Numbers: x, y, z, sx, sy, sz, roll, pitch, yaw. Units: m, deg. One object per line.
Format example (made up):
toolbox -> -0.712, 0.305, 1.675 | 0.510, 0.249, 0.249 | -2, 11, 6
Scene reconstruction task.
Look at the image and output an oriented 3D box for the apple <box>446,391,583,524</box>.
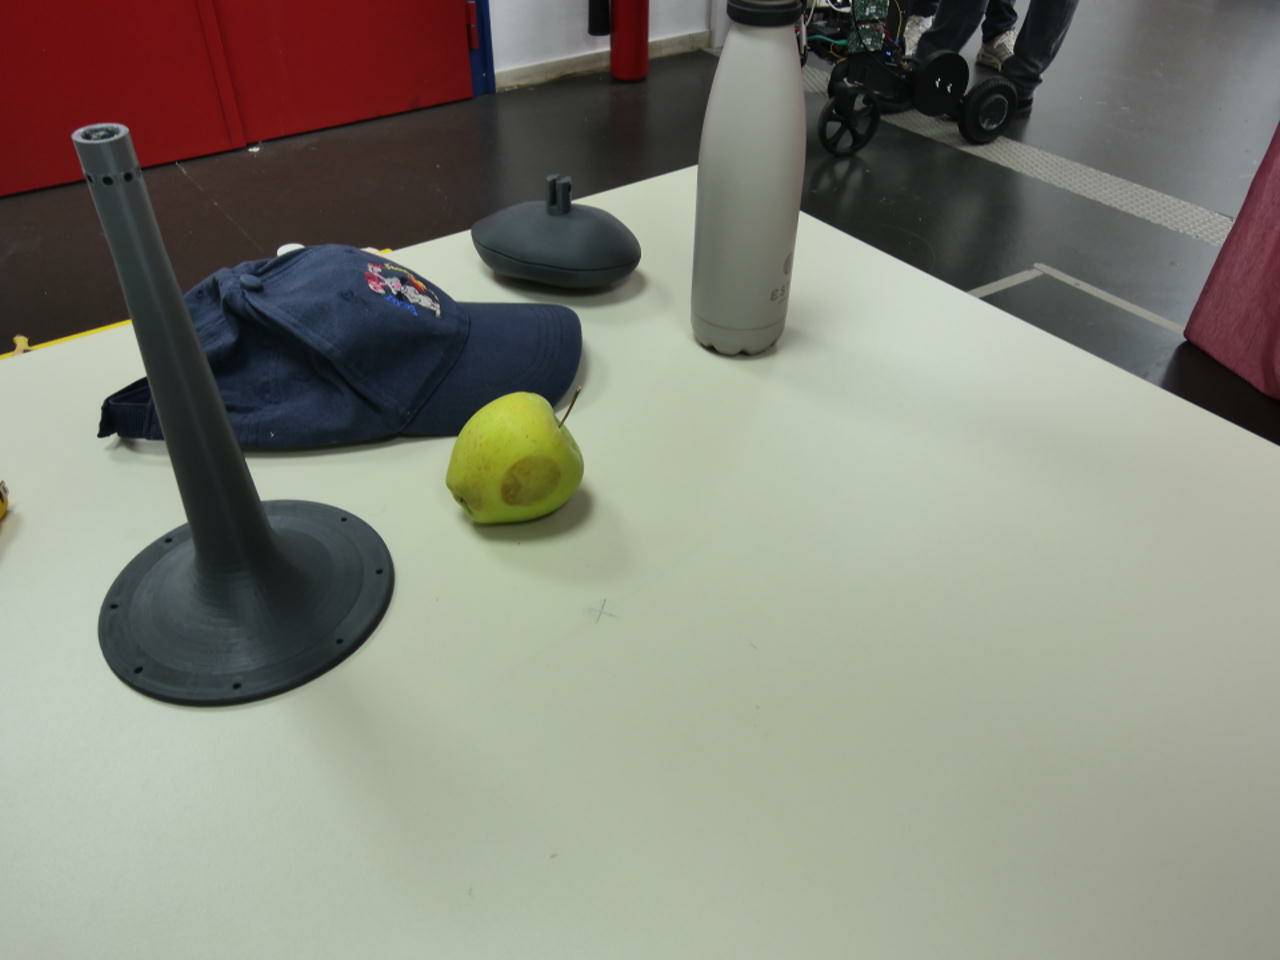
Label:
apple -> -0.071, -0.013, 0.579 | 0.077, 0.075, 0.072 | 6, 38, 5
